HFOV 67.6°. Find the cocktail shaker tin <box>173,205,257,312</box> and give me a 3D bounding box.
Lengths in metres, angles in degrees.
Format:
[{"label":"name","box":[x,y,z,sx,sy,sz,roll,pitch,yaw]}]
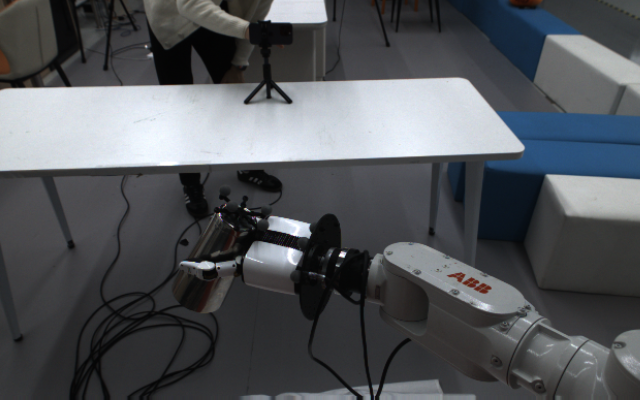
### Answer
[{"label":"cocktail shaker tin","box":[-0.163,0.087,0.768,0.093,0.170,0.093,25,30,-15]}]
